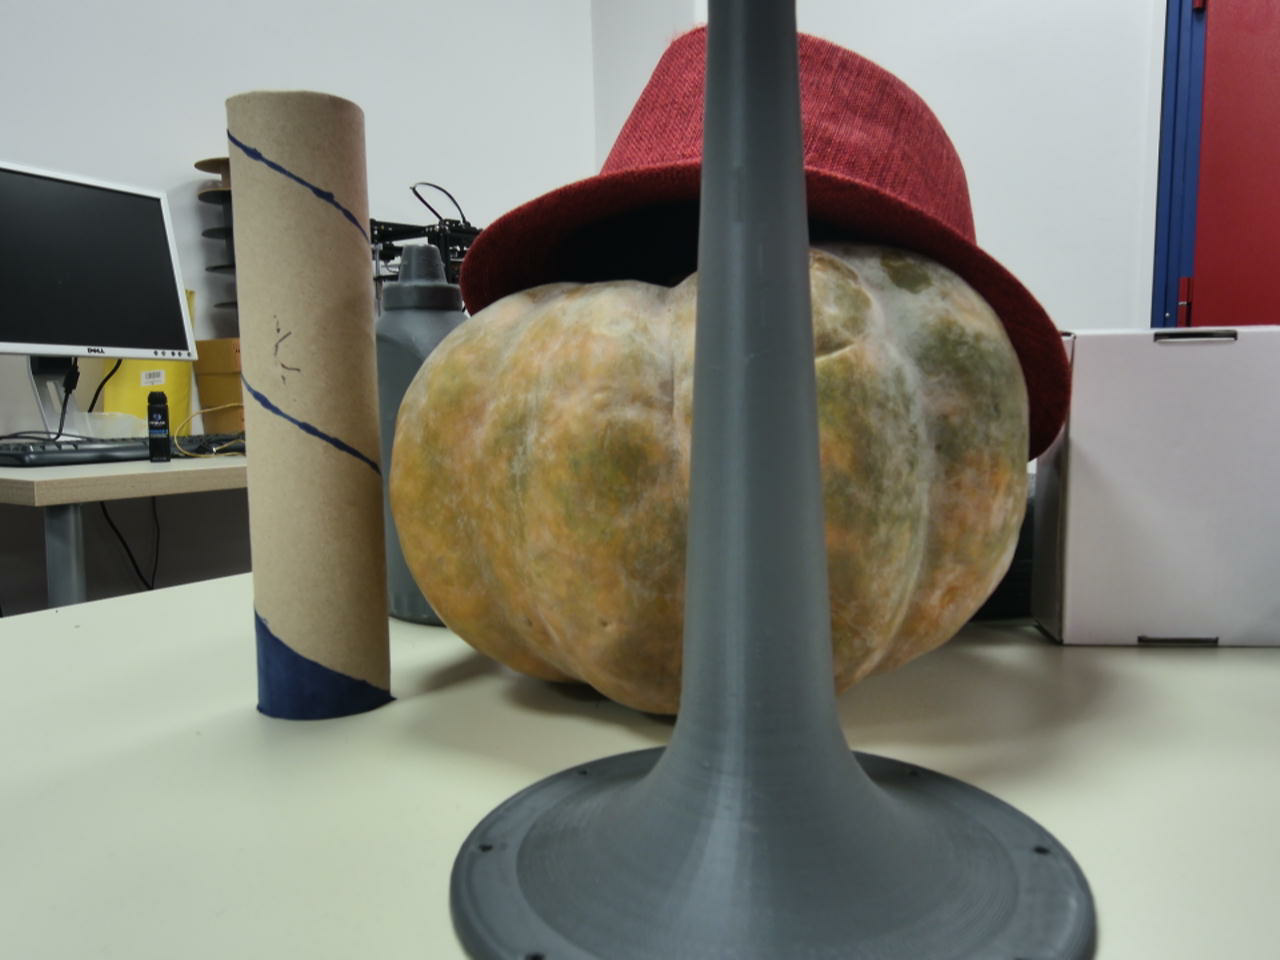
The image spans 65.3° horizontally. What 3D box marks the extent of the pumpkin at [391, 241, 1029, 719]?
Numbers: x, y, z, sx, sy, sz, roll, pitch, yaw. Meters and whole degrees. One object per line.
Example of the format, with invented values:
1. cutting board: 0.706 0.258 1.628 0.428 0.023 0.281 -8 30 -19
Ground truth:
1. pumpkin: 0.025 -0.002 0.404 0.252 0.168 0.252 0 3 0
